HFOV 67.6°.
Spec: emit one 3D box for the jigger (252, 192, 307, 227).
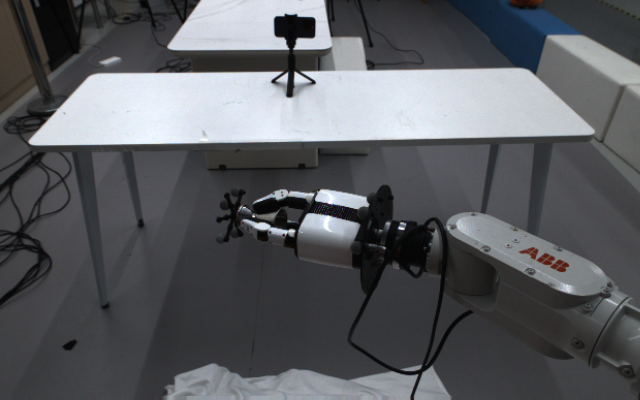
[{"bbox_3d":[-0.085,0.027,0.750,0.071,0.043,0.043,7,34,23],"label":"jigger"}]
